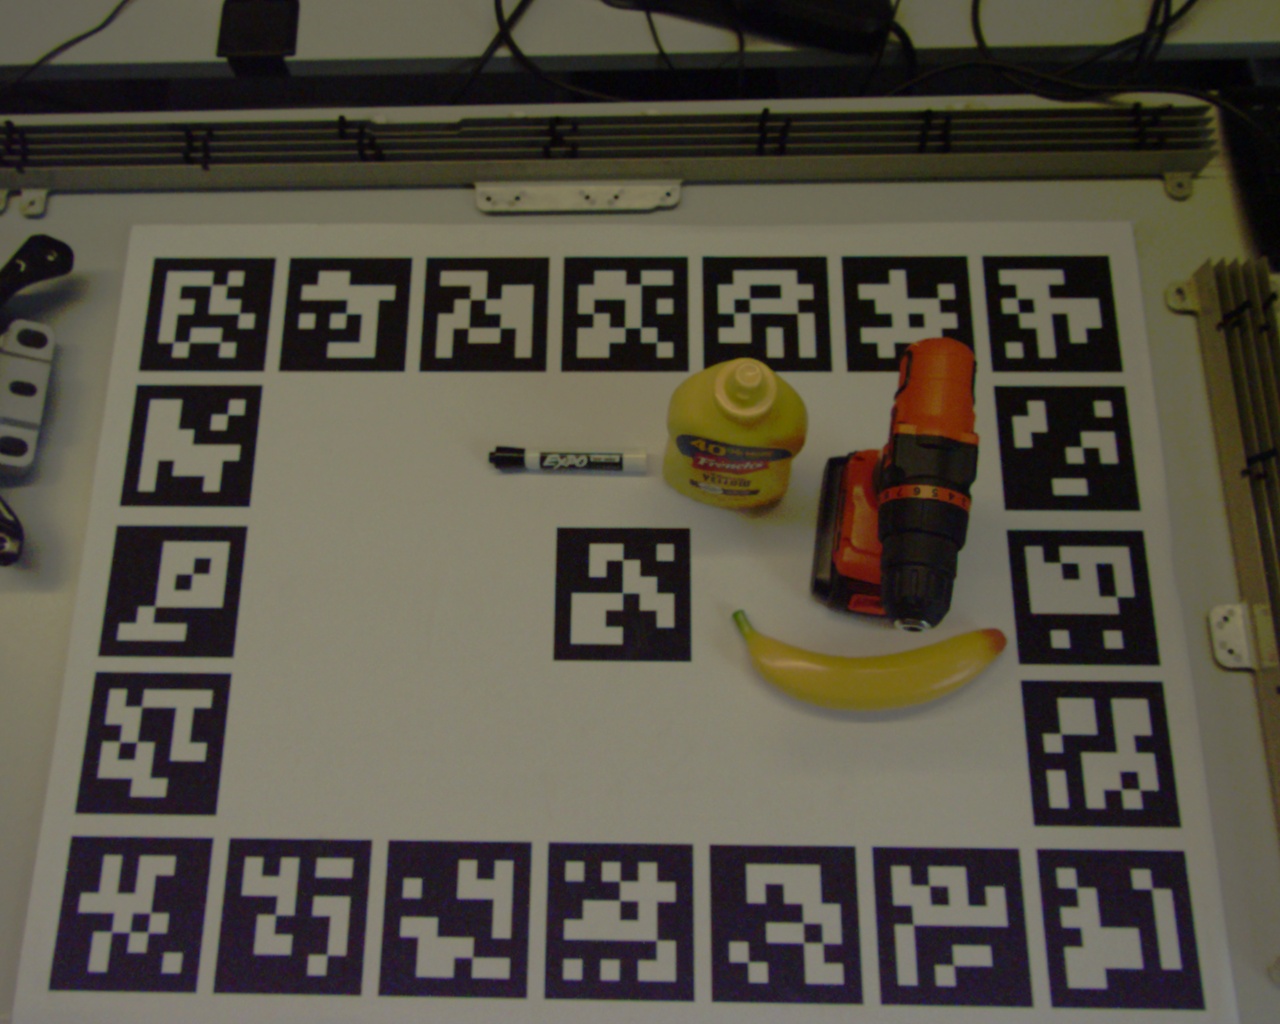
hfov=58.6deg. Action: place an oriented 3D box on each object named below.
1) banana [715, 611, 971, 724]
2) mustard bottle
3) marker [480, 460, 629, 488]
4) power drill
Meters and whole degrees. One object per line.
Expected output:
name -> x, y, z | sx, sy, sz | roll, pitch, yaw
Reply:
banana -> 0.151, 0.125, 0.871 | 0.198, 0.039, 0.074 | 8, 77, 5
mustard bottle -> 0.057, -0.043, 0.837 | 0.096, 0.191, 0.058 | 11, 75, 2
marker -> -0.070, -0.031, 0.926 | 0.121, 0.019, 0.020 | 2, 76, 2
power drill -> 0.162, 0.016, 0.801 | 0.057, 0.187, 0.184 | 14, 73, 2
